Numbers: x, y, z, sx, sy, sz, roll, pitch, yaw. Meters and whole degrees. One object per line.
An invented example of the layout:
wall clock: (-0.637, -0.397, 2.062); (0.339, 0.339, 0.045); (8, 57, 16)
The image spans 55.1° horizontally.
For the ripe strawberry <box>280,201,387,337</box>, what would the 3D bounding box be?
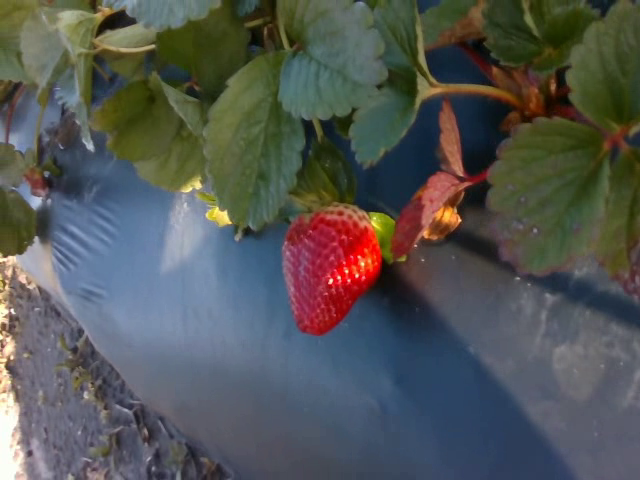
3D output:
ripe strawberry: (0.000, 0.011, 0.213); (0.040, 0.056, 0.041); (20, -30, -9)
